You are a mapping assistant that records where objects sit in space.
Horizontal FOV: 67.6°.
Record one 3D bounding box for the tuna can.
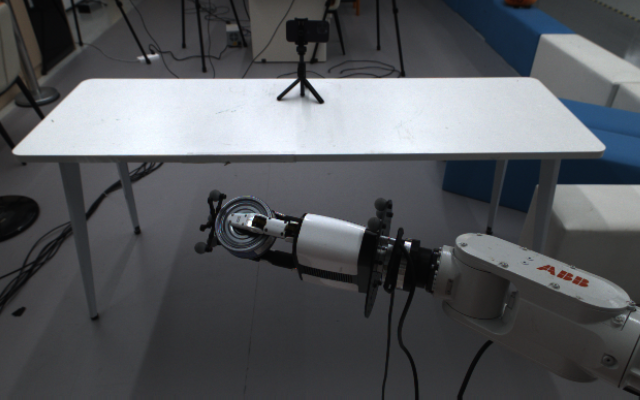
[{"bbox_3d":[-0.103,0.037,0.686,0.085,0.034,0.085,-2,69,6],"label":"tuna can"}]
